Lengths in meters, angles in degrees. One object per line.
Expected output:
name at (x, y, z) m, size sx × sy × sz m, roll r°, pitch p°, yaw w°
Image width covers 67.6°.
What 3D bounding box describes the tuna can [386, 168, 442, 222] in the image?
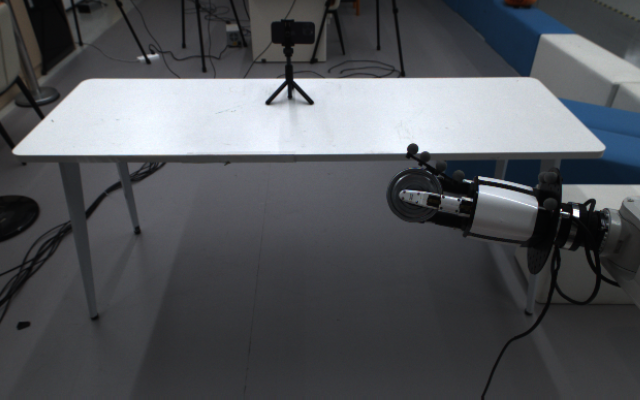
tuna can at (0.150, -0.002, 0.744) m, size 0.085 × 0.085 × 0.034 m, roll 13°, pitch 4°, yaw 15°
